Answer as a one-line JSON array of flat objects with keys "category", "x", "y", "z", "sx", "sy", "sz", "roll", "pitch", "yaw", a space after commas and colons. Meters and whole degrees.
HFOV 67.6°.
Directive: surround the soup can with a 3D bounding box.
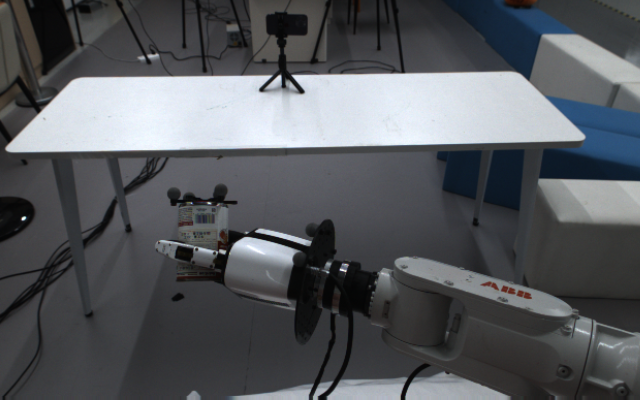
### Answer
[{"category": "soup can", "x": -0.154, "y": 0.058, "z": 0.643, "sx": 0.067, "sy": 0.101, "sz": 0.067, "roll": -2, "pitch": -9, "yaw": 0}]
